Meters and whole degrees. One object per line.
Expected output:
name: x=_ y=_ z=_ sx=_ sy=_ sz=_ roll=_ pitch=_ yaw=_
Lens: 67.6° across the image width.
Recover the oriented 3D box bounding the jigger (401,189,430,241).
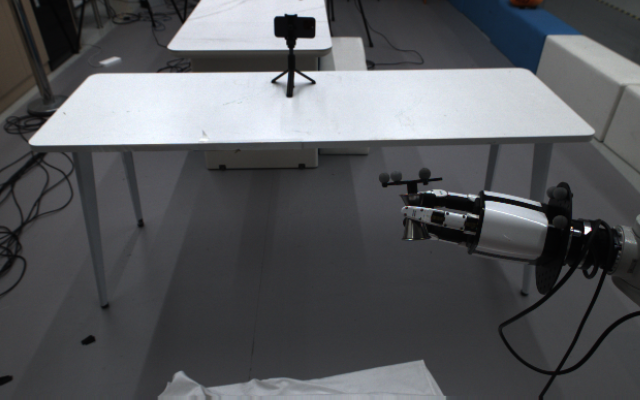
jigger: x=0.140 y=0.023 z=0.718 sx=0.043 sy=0.071 sz=0.043 roll=-4 pitch=1 yaw=0
